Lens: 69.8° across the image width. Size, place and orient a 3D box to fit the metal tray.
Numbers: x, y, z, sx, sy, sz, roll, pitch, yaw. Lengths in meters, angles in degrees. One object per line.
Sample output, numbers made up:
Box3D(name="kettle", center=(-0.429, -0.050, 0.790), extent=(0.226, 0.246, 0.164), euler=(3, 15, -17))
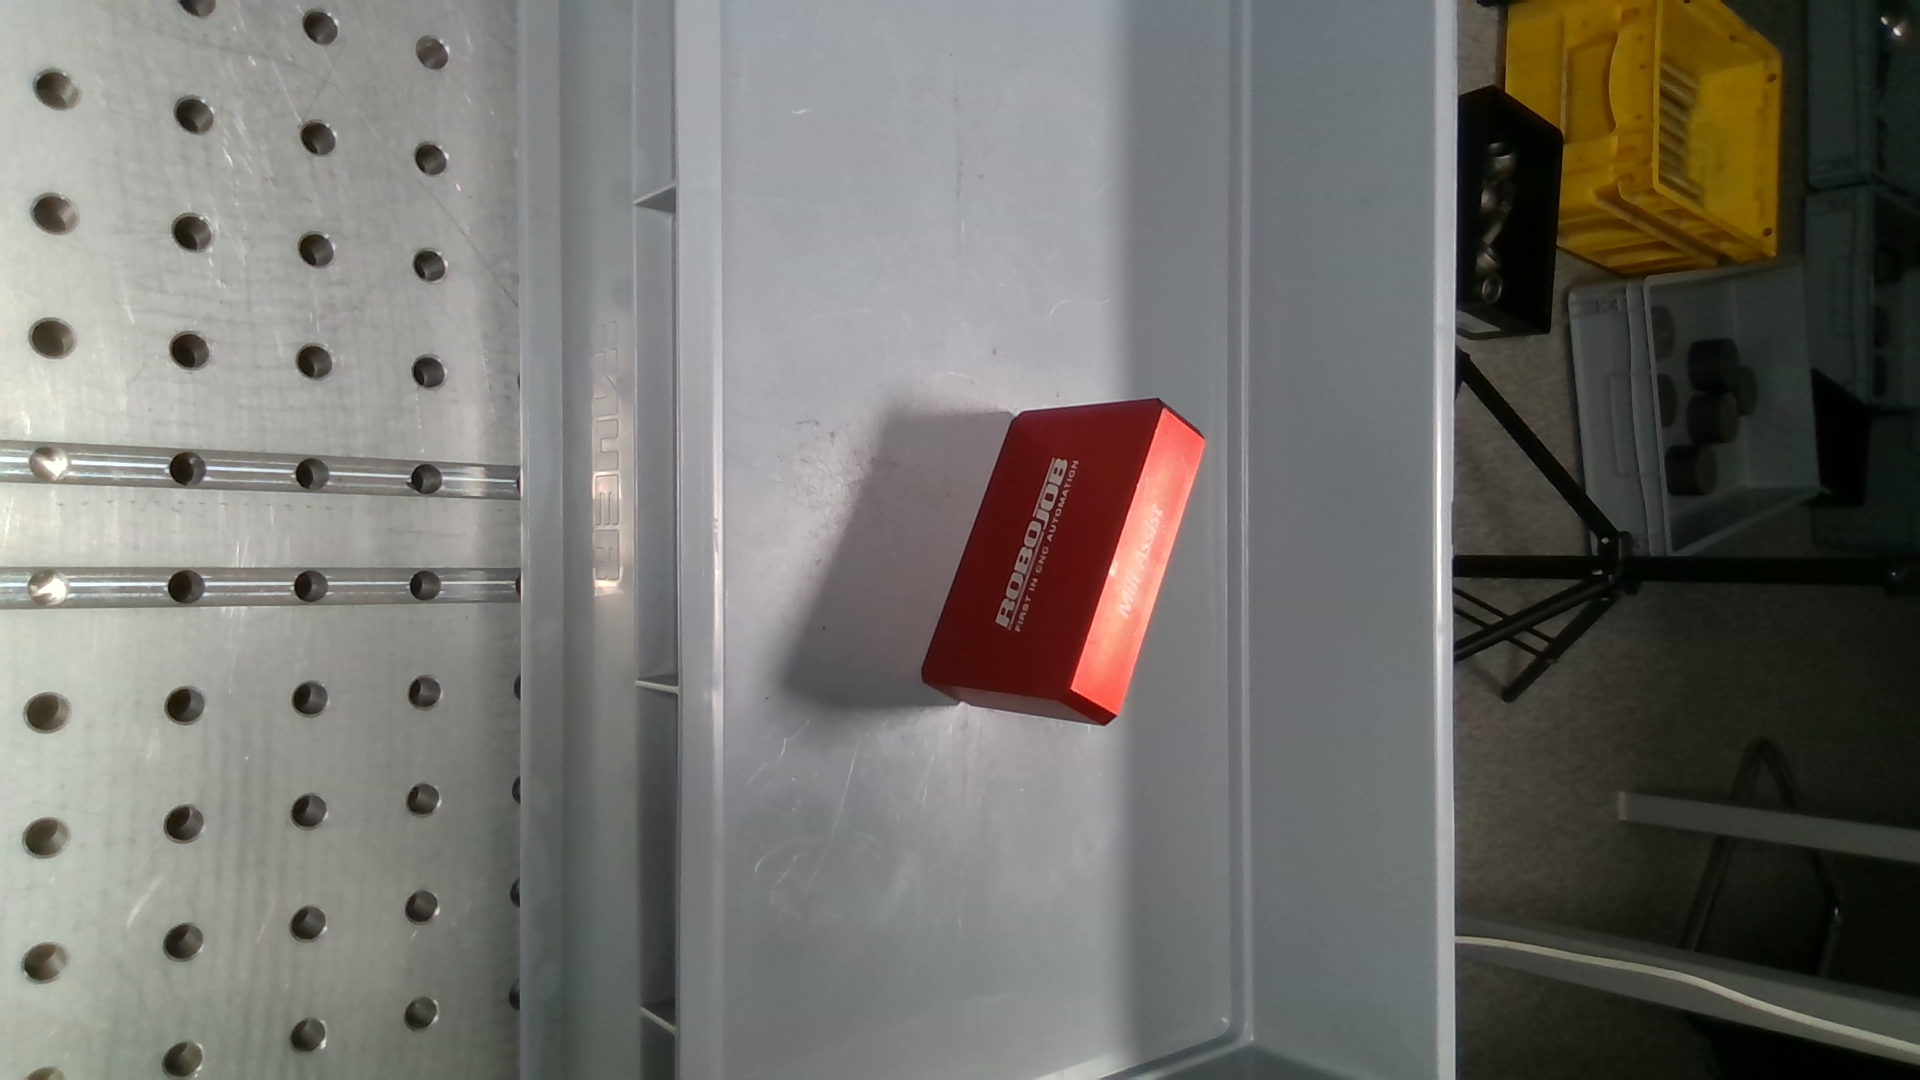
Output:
Box3D(name="metal tray", center=(0.042, 0.007, 0.572), extent=(0.030, 0.090, 0.130), euler=(31, 71, -36))
